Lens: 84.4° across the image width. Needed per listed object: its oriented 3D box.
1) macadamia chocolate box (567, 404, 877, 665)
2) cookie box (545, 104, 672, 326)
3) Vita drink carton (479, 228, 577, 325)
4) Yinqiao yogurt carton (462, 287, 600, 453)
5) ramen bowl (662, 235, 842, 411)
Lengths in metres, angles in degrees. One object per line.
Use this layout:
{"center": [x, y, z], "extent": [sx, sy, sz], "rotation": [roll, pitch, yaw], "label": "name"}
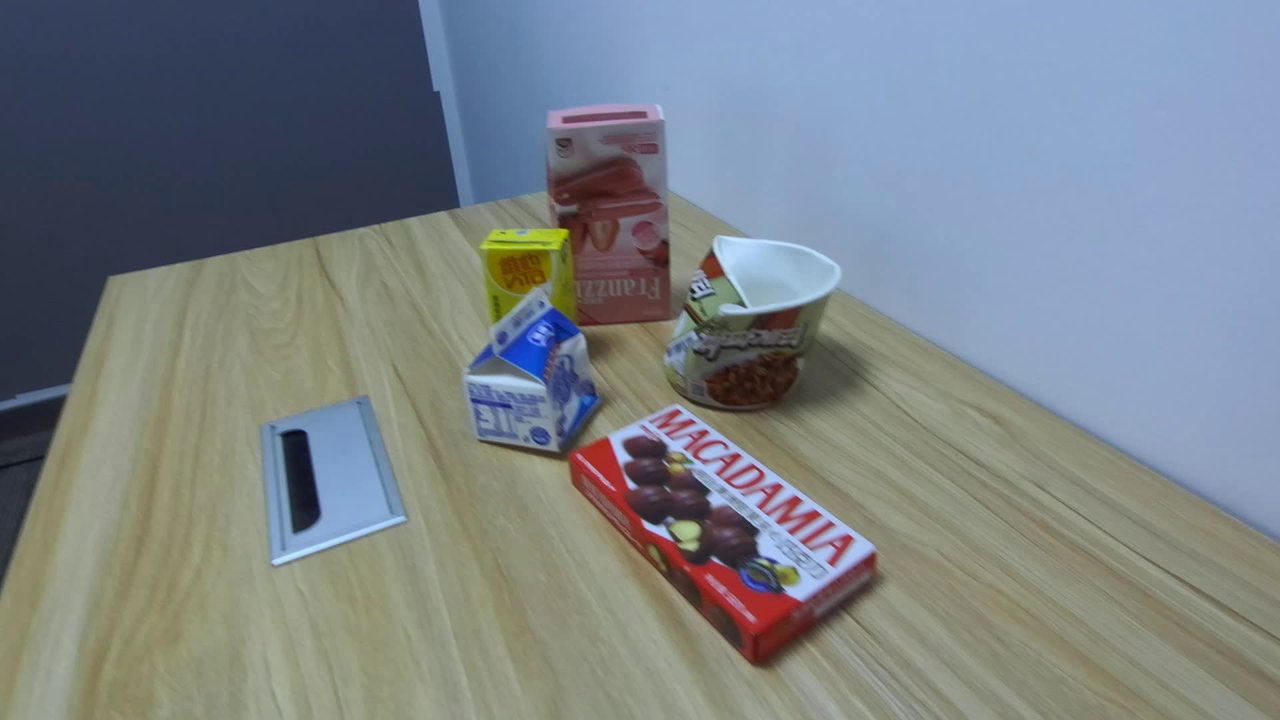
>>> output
{"center": [0.043, 0.092, 0.430], "extent": [0.096, 0.027, 0.177], "rotation": [-22, 37, -29], "label": "macadamia chocolate box"}
{"center": [-0.026, -0.123, 0.622], "extent": [0.105, 0.188, 0.049], "rotation": [-3, 33, 1], "label": "cookie box"}
{"center": [-0.089, -0.051, 0.588], "extent": [0.066, 0.109, 0.043], "rotation": [1, 30, 7], "label": "Vita drink carton"}
{"center": [-0.079, 0.006, 0.513], "extent": [0.071, 0.094, 0.077], "rotation": [6, 32, 24], "label": "Yinqiao yogurt carton"}
{"center": [0.082, -0.027, 0.548], "extent": [0.137, 0.098, 0.137], "rotation": [-2, 35, 2], "label": "ramen bowl"}
